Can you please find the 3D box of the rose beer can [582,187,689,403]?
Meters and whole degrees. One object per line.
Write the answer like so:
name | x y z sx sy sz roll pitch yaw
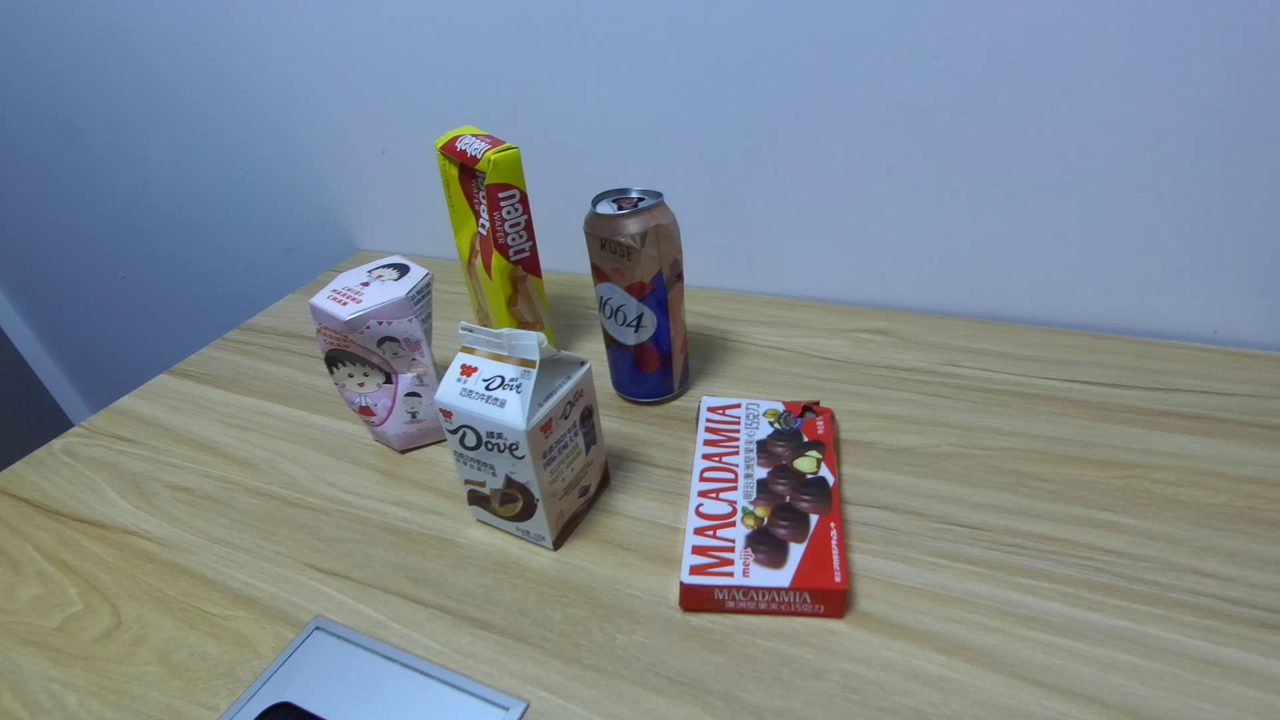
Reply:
rose beer can | 0.002 -0.049 0.556 0.065 0.167 0.075 -22 36 -23

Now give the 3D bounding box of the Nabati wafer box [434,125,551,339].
Nabati wafer box | -0.125 -0.091 0.615 0.042 0.204 0.096 -22 38 -24

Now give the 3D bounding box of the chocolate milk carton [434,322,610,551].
chocolate milk carton | -0.076 0.039 0.462 0.075 0.148 0.074 14 40 28

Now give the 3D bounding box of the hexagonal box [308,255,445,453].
hexagonal box | -0.197 -0.004 0.568 0.089 0.135 0.093 -5 35 6

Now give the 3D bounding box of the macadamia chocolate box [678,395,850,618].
macadamia chocolate box | 0.083 0.083 0.470 0.102 0.027 0.186 0 35 10
